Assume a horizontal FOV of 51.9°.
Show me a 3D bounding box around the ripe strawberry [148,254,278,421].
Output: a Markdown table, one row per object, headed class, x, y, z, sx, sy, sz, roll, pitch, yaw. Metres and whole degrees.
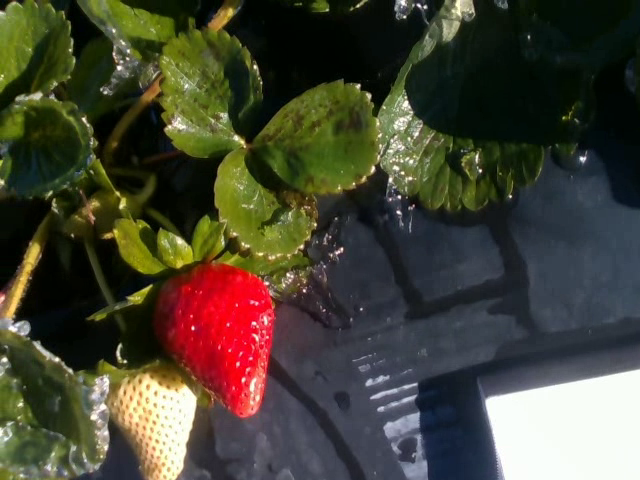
| class | x | y | z | sx | sy | sz | roll | pitch | yaw |
| --- | --- | --- | --- | --- | --- | --- | --- | --- | --- |
| ripe strawberry | -0.031 | 0.039 | 0.228 | 0.042 | 0.061 | 0.046 | -28 | -31 | 13 |
